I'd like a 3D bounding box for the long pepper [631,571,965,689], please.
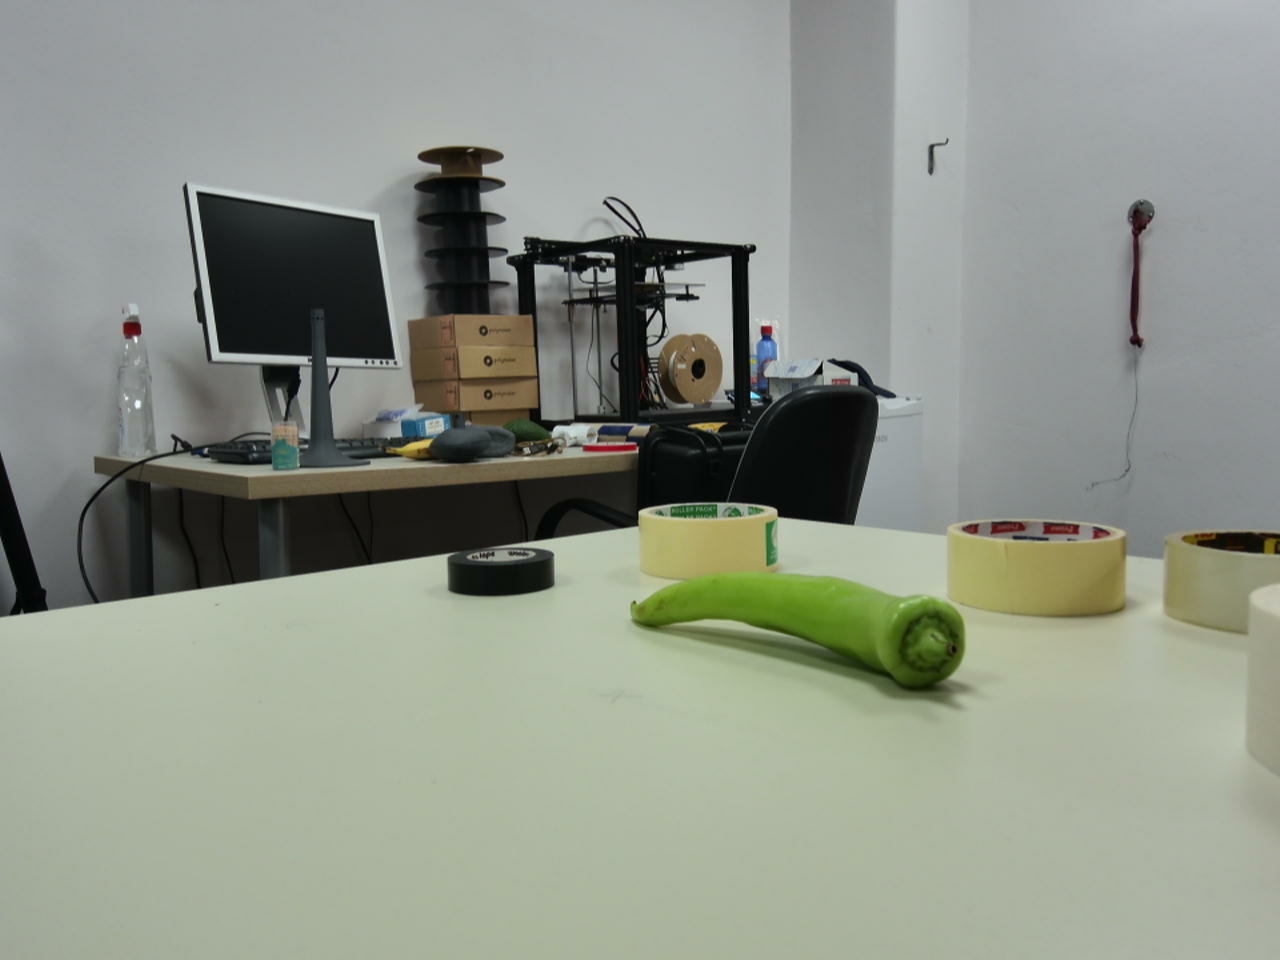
[{"bbox_3d":[0.067,0.060,0.460,0.046,0.038,0.197,-1,4,-38],"label":"long pepper"}]
